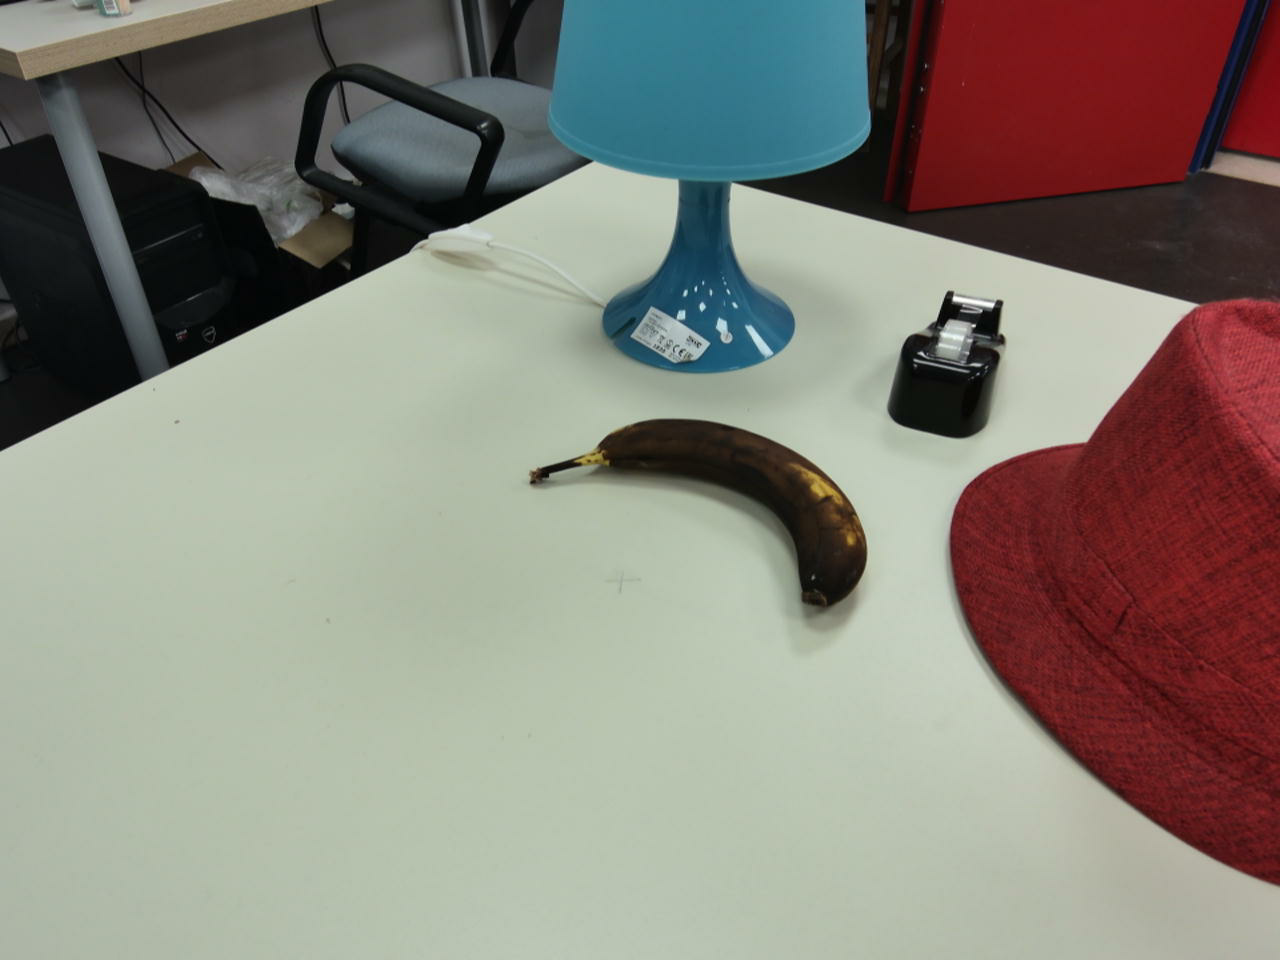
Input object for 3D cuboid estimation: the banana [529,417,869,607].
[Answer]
[{"bbox_3d":[0.040,0.002,0.519,0.188,0.034,0.091,26,45,31],"label":"banana"}]
